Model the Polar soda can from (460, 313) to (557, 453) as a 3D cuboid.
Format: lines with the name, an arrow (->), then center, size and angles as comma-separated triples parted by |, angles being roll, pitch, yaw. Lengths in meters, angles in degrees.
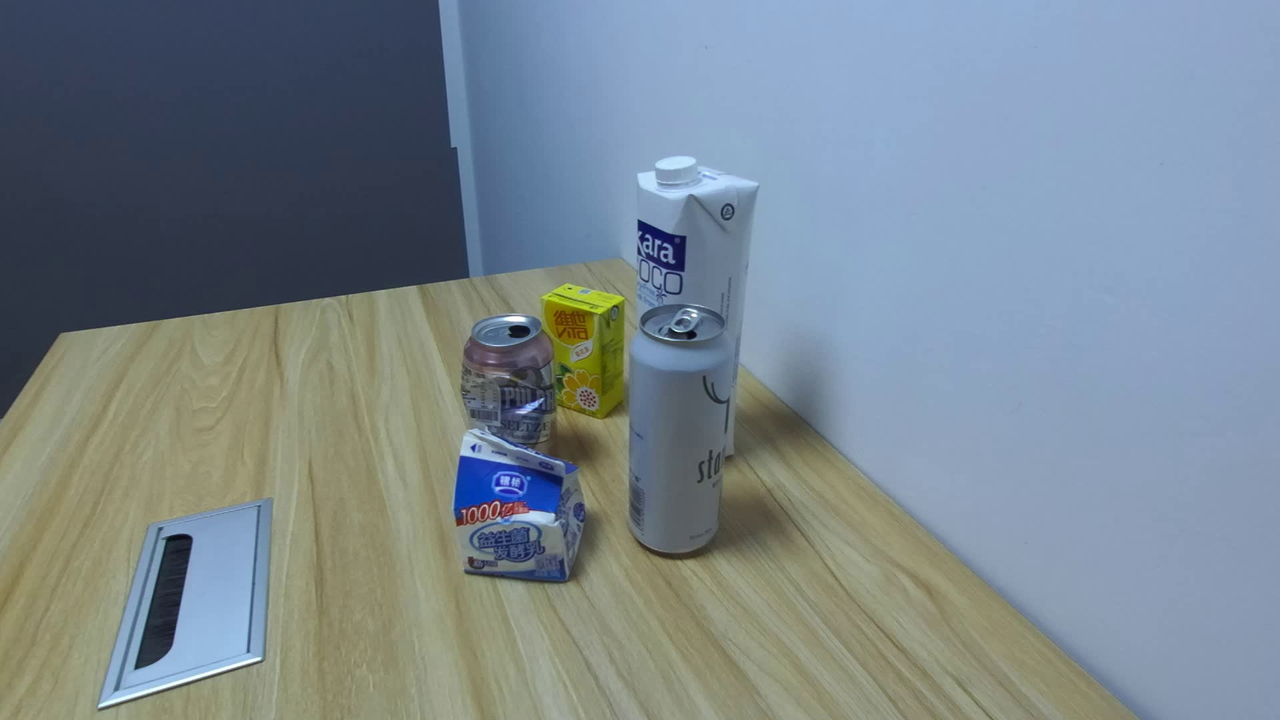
Polar soda can -> -0.101, 0.029, 0.571 | 0.074, 0.122, 0.067 | 23, 35, 37

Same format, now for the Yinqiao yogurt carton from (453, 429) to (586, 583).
Yinqiao yogurt carton -> -0.083, 0.090, 0.484 | 0.083, 0.093, 0.077 | 4, 28, 5

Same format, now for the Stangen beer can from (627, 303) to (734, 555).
Stangen beer can -> 0.026, 0.050, 0.477 | 0.067, 0.171, 0.067 | 1, 28, 0

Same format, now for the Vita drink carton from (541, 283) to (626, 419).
Vita drink carton -> -0.050, -0.009, 0.644 | 0.066, 0.109, 0.044 | 17, 33, 25
